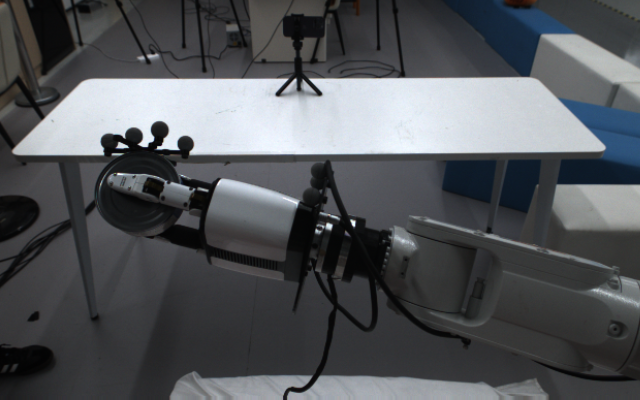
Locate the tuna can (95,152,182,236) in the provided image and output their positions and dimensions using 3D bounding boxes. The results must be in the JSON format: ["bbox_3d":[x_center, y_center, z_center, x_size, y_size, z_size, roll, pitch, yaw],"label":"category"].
[{"bbox_3d":[-0.182,-0.004,0.506,0.085,0.034,0.085,1,73,-4],"label":"tuna can"}]
